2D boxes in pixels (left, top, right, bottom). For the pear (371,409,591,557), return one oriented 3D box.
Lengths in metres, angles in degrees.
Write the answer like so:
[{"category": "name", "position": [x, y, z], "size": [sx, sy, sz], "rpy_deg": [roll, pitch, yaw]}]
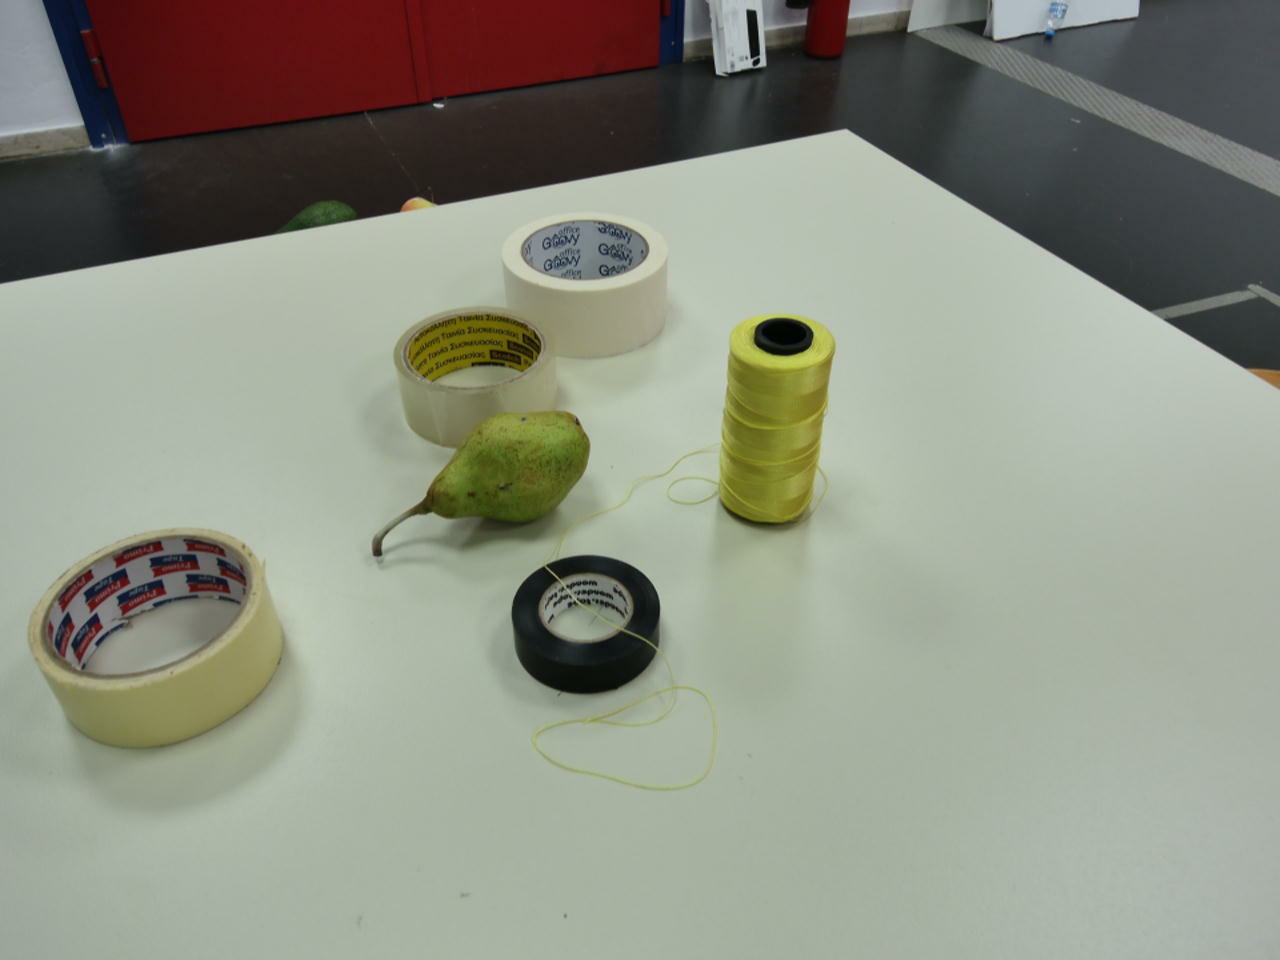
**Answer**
[{"category": "pear", "position": [-0.079, -0.005, 0.495], "size": [0.111, 0.056, 0.056], "rpy_deg": [-6, 39, -8]}]
